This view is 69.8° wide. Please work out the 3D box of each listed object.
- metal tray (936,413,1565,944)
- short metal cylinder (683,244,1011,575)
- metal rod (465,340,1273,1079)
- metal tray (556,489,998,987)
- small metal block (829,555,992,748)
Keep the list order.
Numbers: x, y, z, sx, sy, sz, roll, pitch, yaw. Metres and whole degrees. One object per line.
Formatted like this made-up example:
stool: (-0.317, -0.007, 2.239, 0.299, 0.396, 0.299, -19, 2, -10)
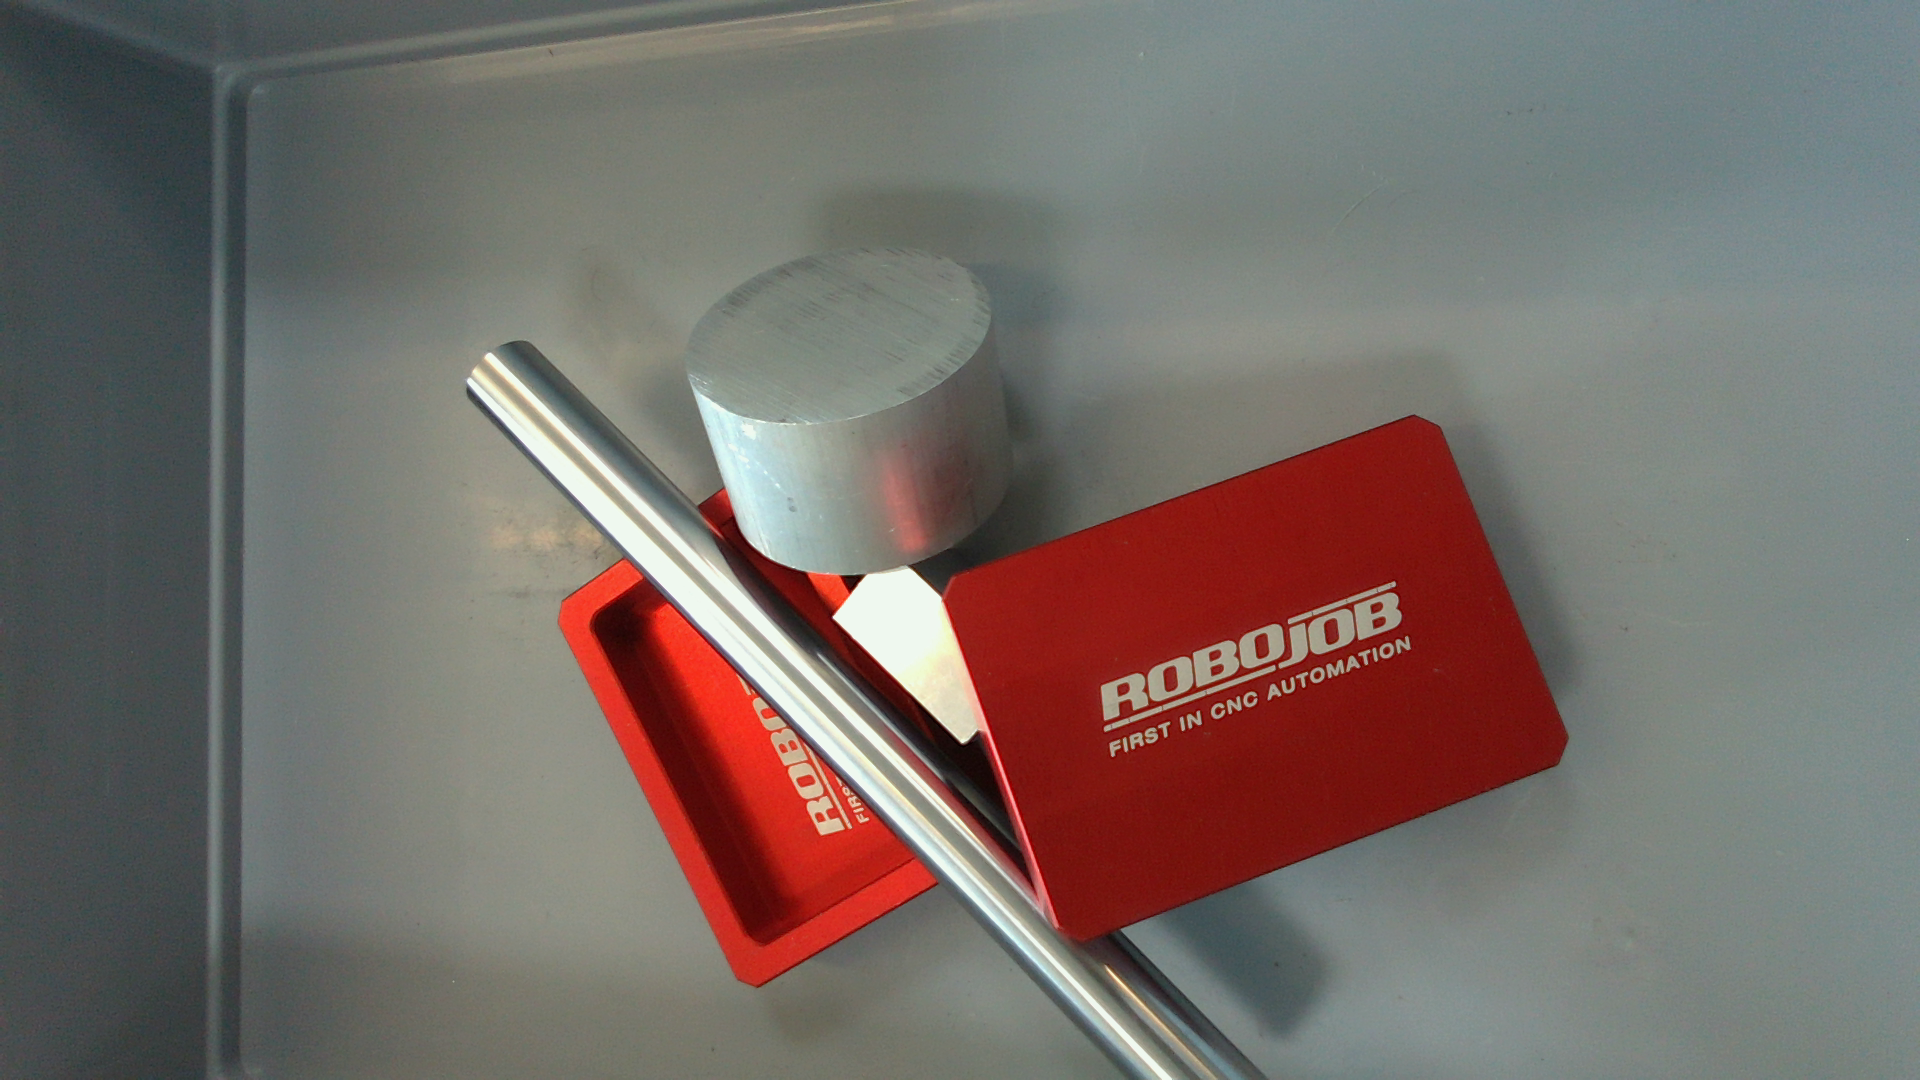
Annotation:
metal tray: (0.069, 0.033, 0.340, 0.130, 0.030, 0.090, -19, 83, -6)
short metal cylinder: (-0.028, -0.036, 0.369, 0.080, 0.080, 0.050, 9, 135, 20)
metal rod: (-0.031, 0.049, 0.374, 0.300, 0.025, 0.025, 43, 104, 14)
metal tray: (-0.053, 0.053, 0.411, 0.090, 0.030, 0.130, -33, 79, 17)
small metal block: (-0.001, 0.028, 0.381, 0.050, 0.050, 0.025, 43, 104, 15)
